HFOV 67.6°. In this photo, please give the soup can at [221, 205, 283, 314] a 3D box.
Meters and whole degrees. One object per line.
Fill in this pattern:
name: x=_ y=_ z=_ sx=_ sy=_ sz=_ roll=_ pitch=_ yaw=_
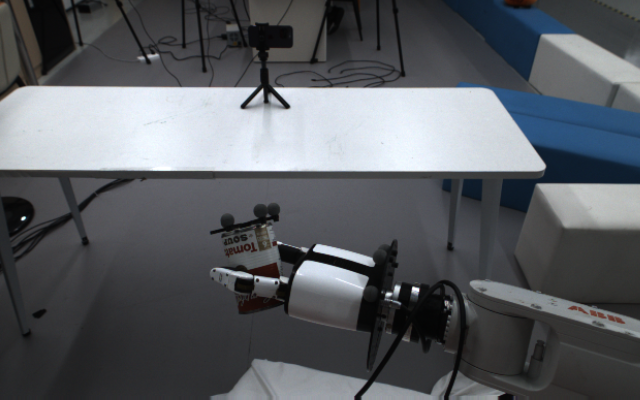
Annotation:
soup can: x=-0.079 y=0.085 z=0.611 sx=0.067 sy=0.101 sz=0.067 roll=-14 pitch=-2 yaw=-1
